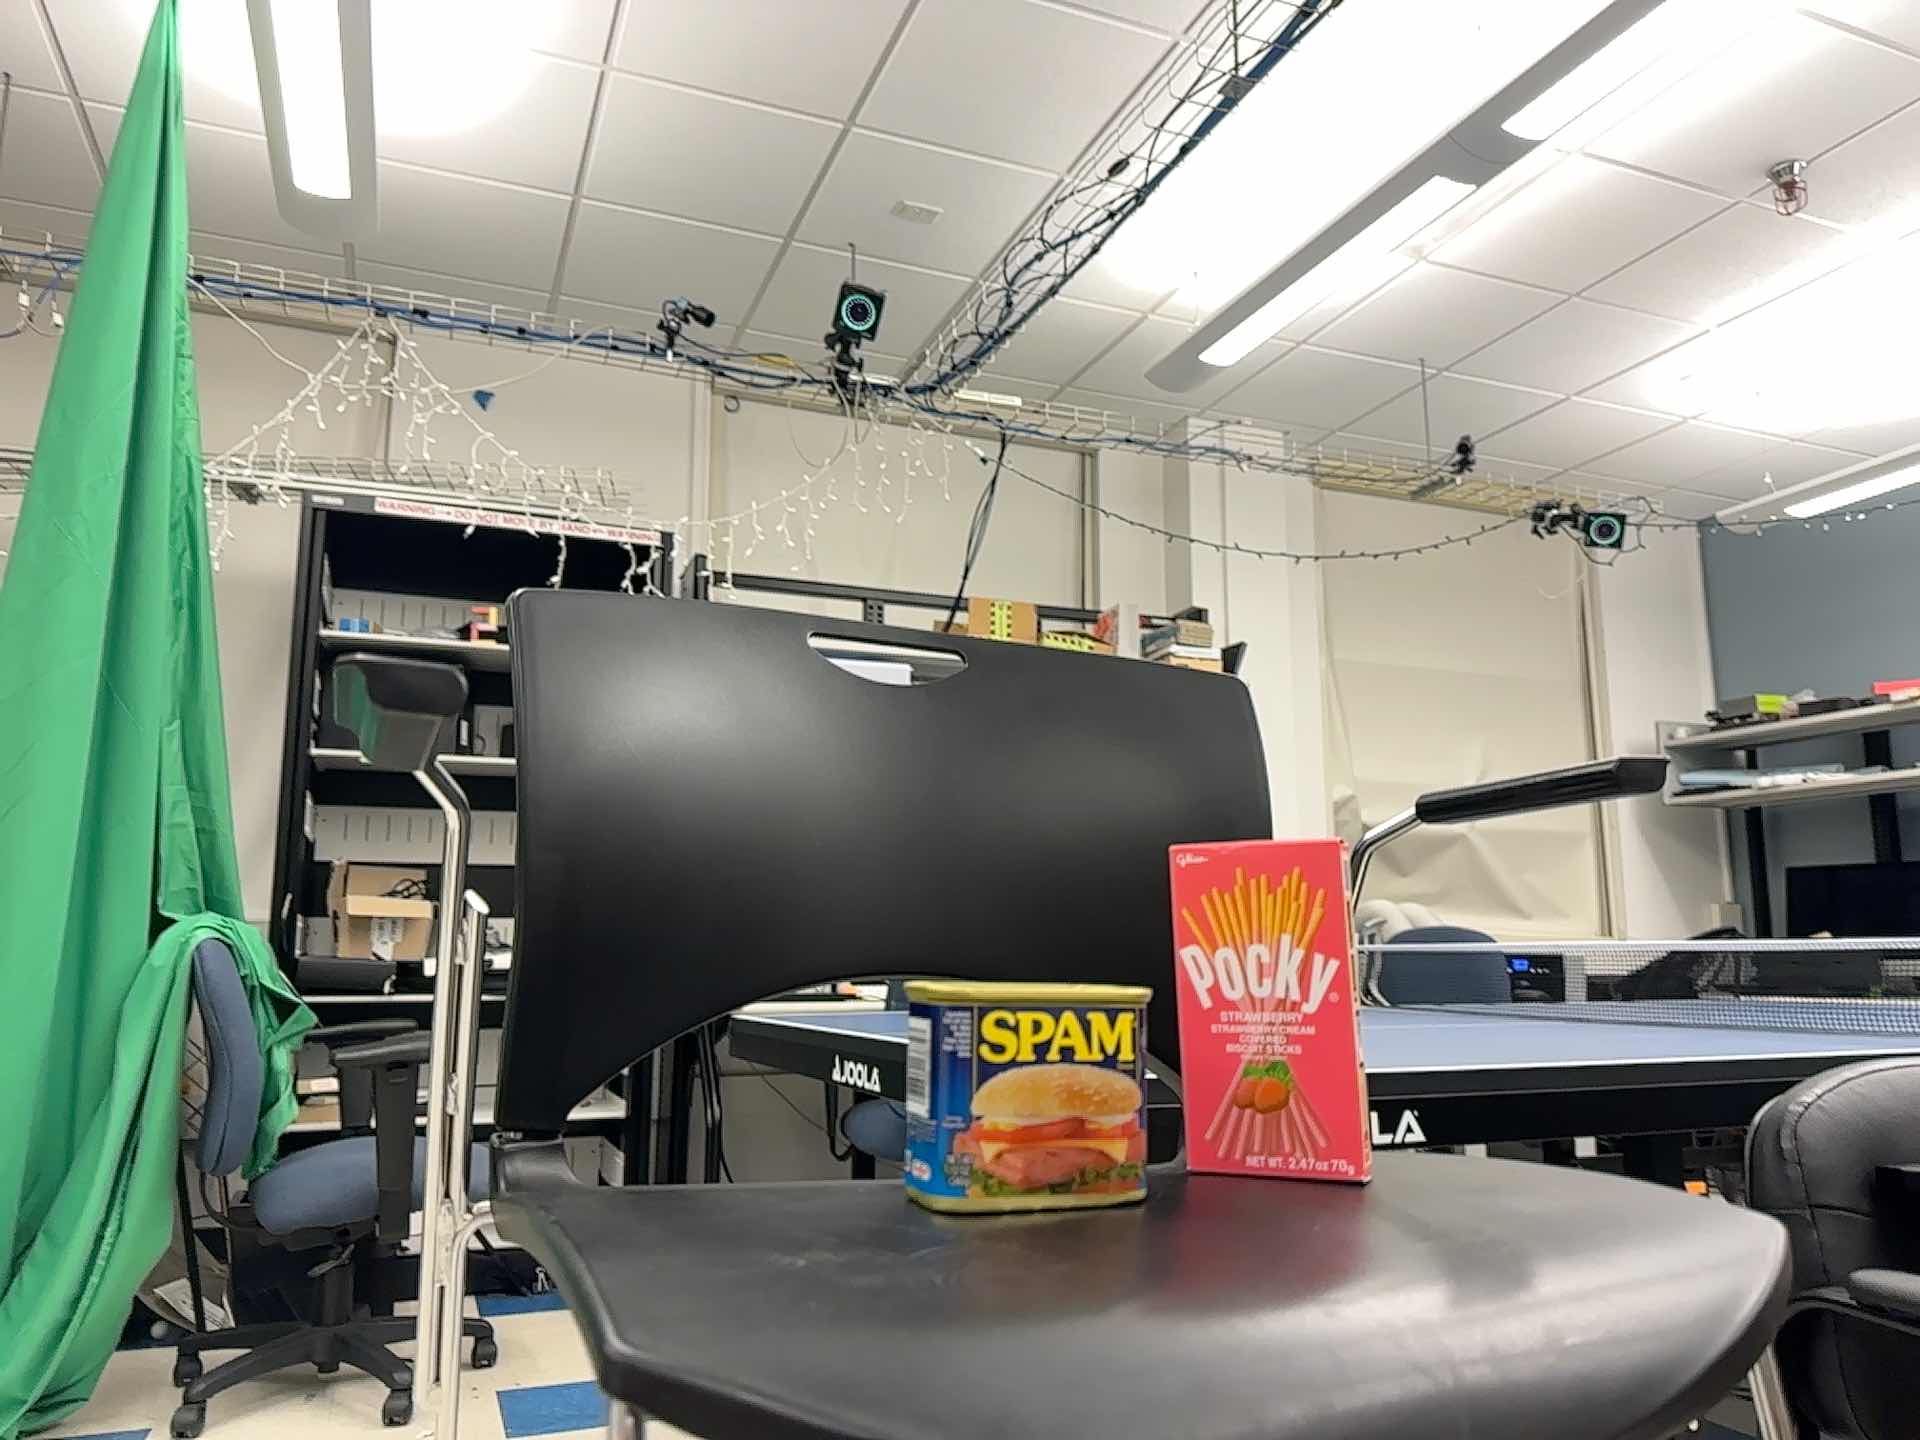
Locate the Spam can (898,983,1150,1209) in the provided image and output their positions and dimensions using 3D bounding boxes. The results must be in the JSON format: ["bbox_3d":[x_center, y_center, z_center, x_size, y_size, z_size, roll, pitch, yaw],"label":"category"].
[{"bbox_3d":[0.026,0.152,0.557,0.100,0.083,0.056,4,-10,-17],"label":"Spam can"}]

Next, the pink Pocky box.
[{"bbox_3d":[0.145,0.133,0.631,0.084,0.155,0.029,-7,-10,26],"label":"pink Pocky box"}]
